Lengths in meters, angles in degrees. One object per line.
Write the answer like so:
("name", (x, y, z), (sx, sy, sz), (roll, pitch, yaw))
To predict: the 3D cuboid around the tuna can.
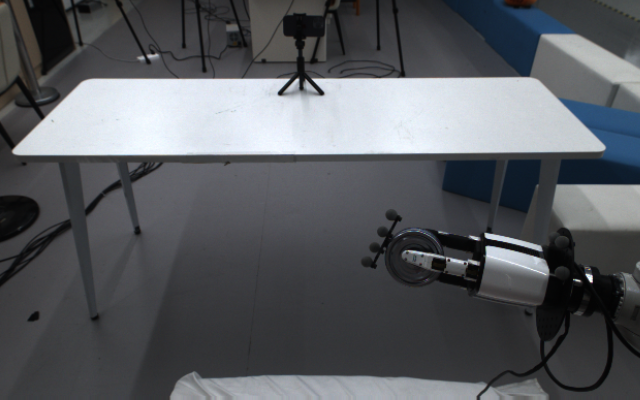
("tuna can", (0.141, 0.082, 0.712), (0.085, 0.085, 0.034), (9, 4, 10))
